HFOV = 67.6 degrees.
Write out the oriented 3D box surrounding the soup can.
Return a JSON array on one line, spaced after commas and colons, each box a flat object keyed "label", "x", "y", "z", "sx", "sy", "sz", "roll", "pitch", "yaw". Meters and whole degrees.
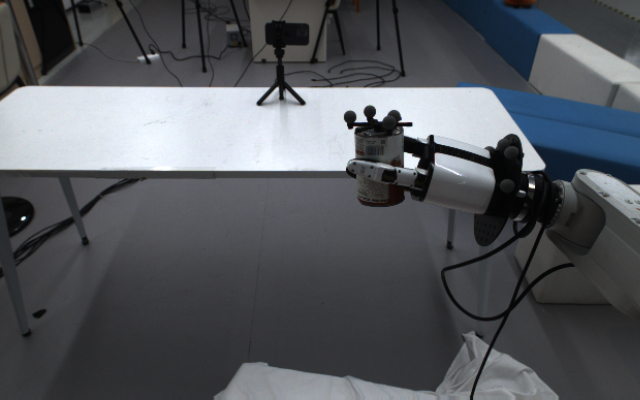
[{"label": "soup can", "x": 0.084, "y": -0.049, "z": 0.670, "sx": 0.067, "sy": 0.101, "sz": 0.067, "roll": -4, "pitch": 21, "yaw": 1}]
